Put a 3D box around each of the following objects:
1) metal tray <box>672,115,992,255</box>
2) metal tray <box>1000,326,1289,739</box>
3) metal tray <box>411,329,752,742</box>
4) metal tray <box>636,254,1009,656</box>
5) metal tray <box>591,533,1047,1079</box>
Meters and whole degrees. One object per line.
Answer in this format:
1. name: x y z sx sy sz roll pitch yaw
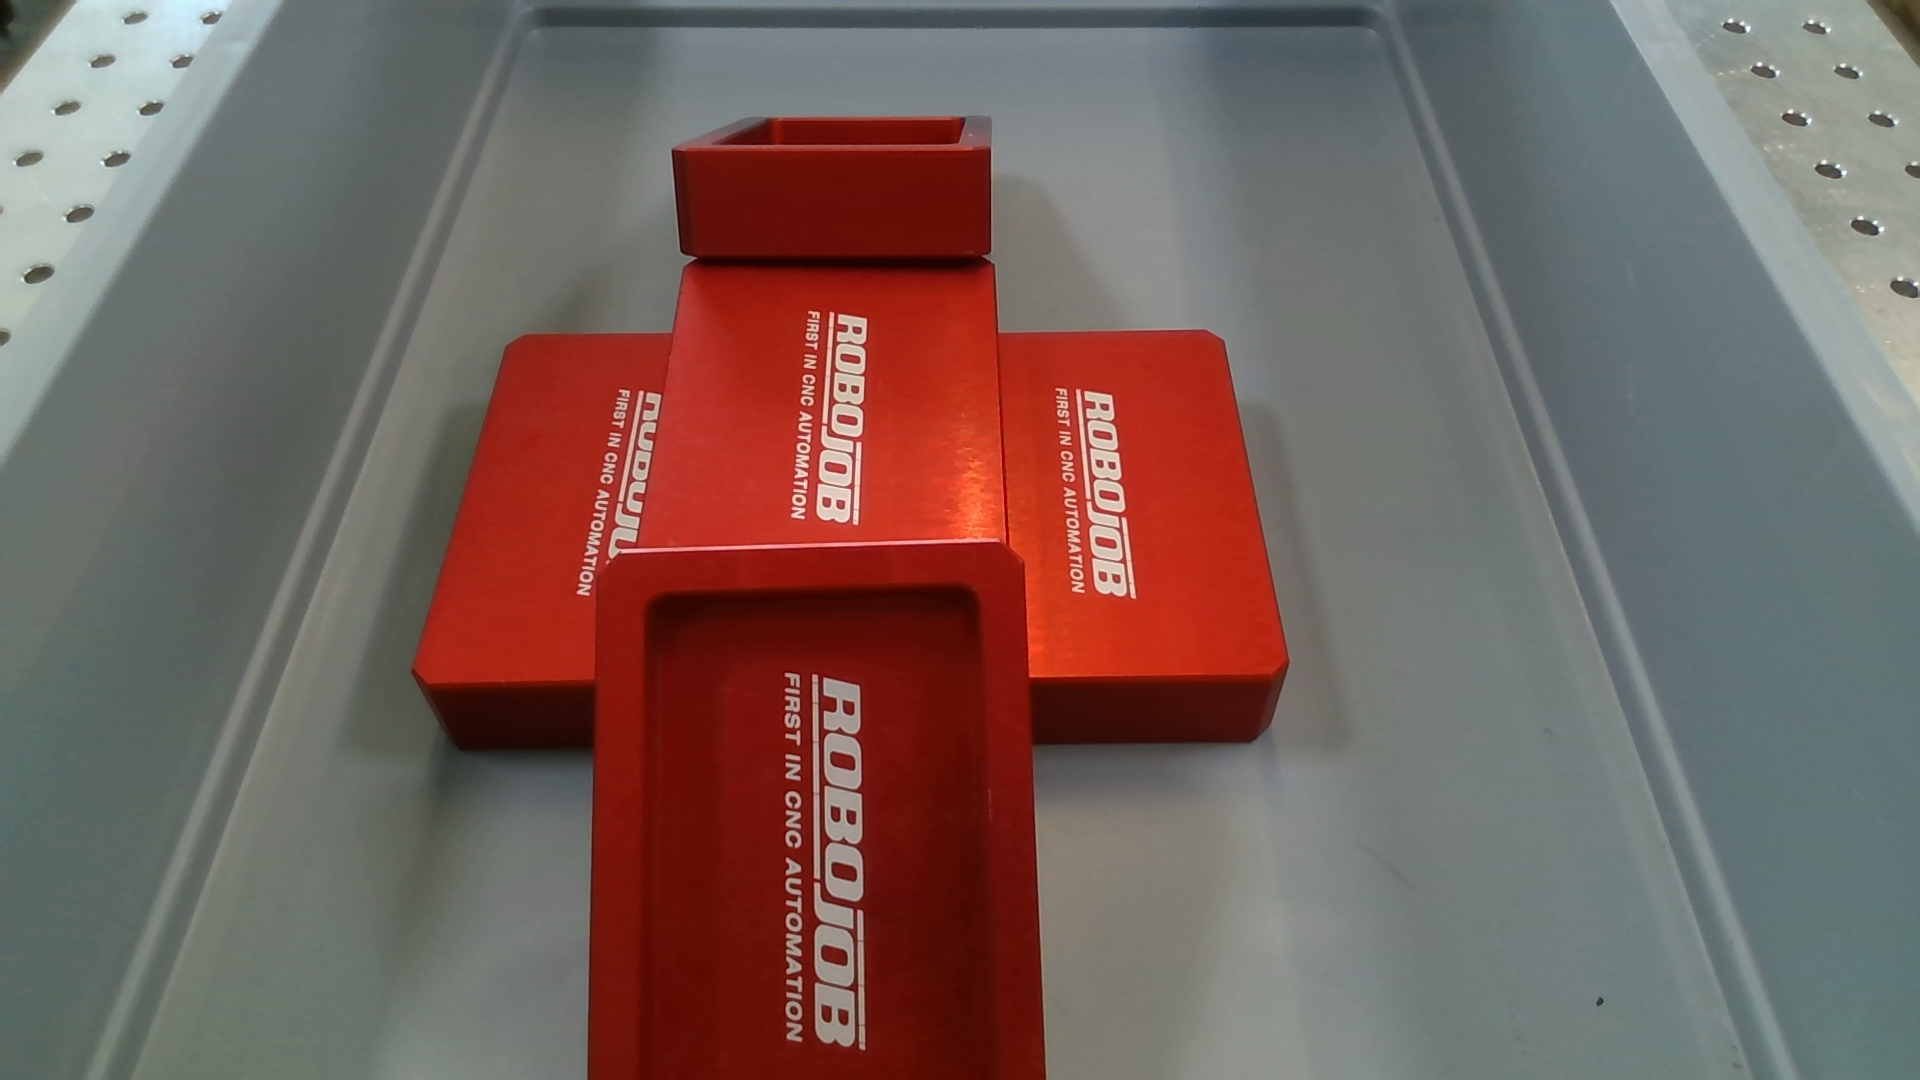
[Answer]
1. metal tray: -0.035 -0.119 0.448 0.090 0.030 0.130 0 21 1
2. metal tray: 0.037 -0.007 0.393 0.090 0.030 0.130 0 51 0
3. metal tray: -0.093 -0.006 0.393 0.090 0.030 0.130 0 51 0
4. metal tray: -0.034 -0.025 0.370 0.090 0.030 0.130 -1 51 -1
5. metal tray: -0.029 0.066 0.293 0.090 0.030 0.130 -2 80 -1
